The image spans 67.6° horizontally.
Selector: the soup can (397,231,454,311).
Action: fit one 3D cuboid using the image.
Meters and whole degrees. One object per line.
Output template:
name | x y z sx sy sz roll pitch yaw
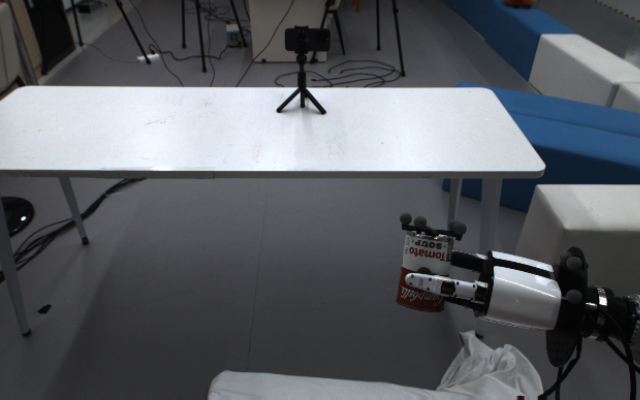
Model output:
soup can | 0.149 0.096 0.678 0.067 0.101 0.067 7 4 0
